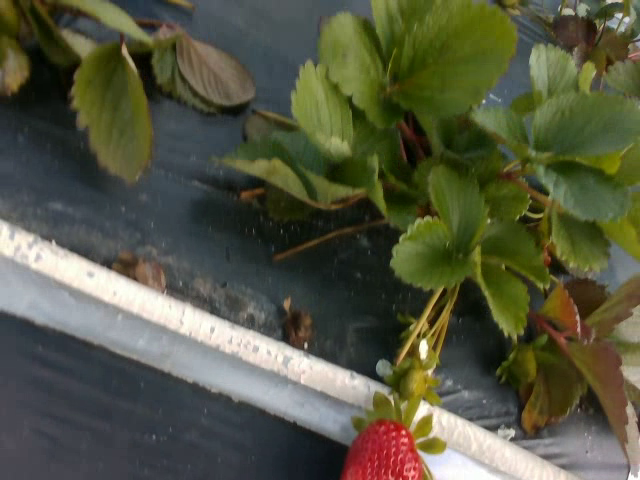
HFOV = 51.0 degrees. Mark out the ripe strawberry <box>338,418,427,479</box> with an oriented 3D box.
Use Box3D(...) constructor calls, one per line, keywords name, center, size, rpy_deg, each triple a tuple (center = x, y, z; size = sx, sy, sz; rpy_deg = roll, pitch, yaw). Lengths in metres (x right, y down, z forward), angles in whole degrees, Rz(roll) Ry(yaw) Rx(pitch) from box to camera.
Box3D(name="ripe strawberry", center=(0.023, 0.097, 0.271), size=(0.052, 0.048, 0.030), rpy_deg=(-27, 11, -38))
